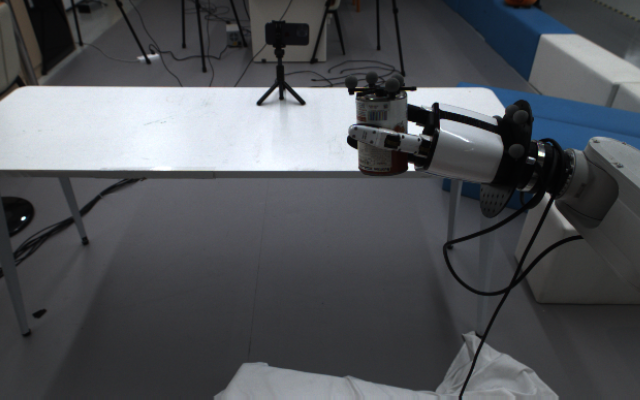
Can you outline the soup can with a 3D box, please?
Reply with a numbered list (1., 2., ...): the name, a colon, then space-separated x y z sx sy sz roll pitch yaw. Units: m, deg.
1. soup can: 0.083 -0.090 0.641 0.067 0.101 0.067 -4 21 2
